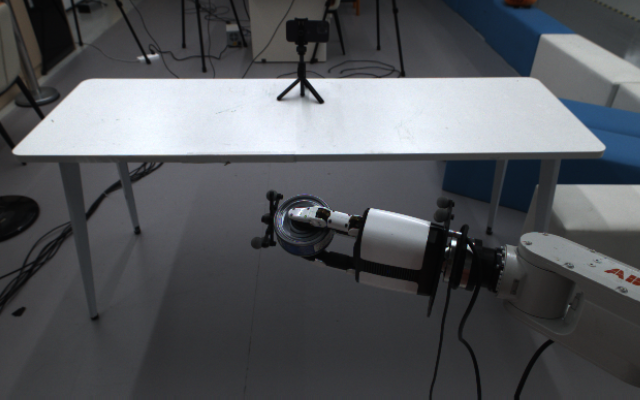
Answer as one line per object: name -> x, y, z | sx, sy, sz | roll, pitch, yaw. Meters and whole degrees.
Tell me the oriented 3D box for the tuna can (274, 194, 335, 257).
tuna can -> -0.020, 0.034, 0.686 | 0.085, 0.034, 0.085 | -2, 57, 3
